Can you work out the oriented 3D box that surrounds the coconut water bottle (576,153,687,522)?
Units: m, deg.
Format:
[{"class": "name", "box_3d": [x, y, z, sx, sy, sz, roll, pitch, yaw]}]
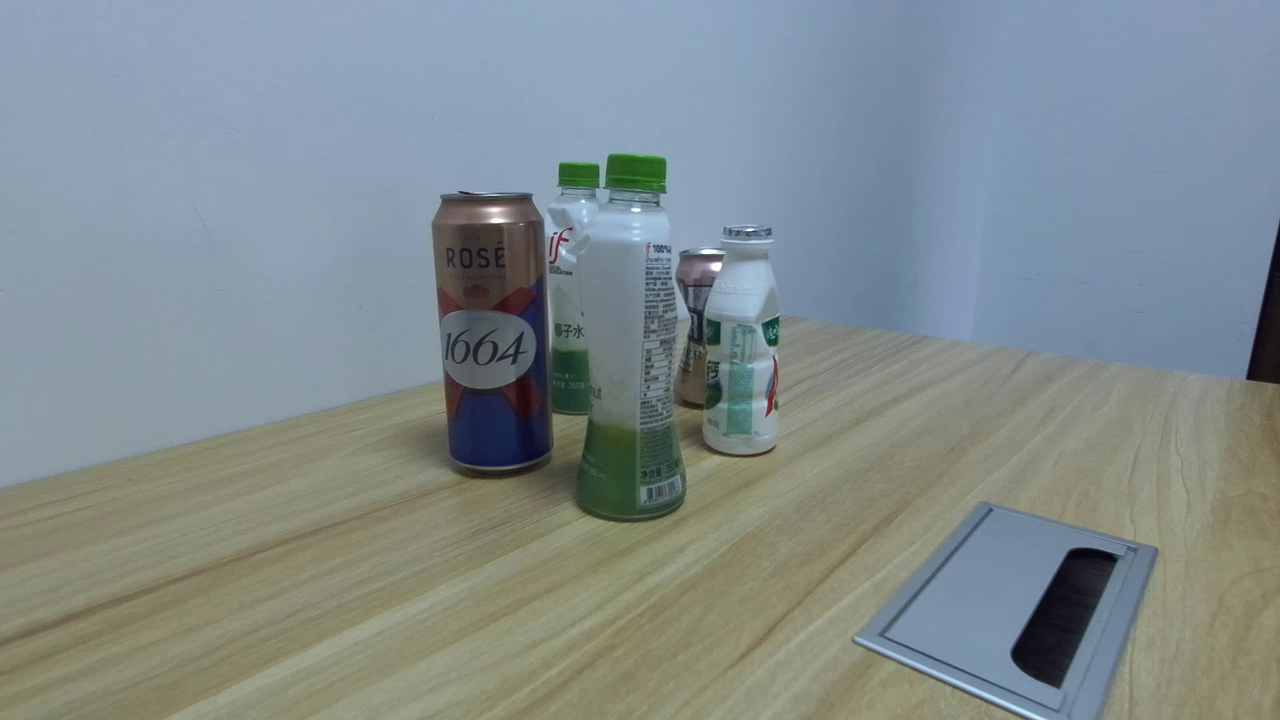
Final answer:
[{"class": "coconut water bottle", "box_3d": [-0.005, -0.012, 0.380, 0.069, 0.187, 0.069, 0, 11, 0]}]

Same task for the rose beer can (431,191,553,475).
[{"class": "rose beer can", "box_3d": [-0.090, -0.015, 0.441, 0.068, 0.169, 0.068, -1, 13, 0]}]
